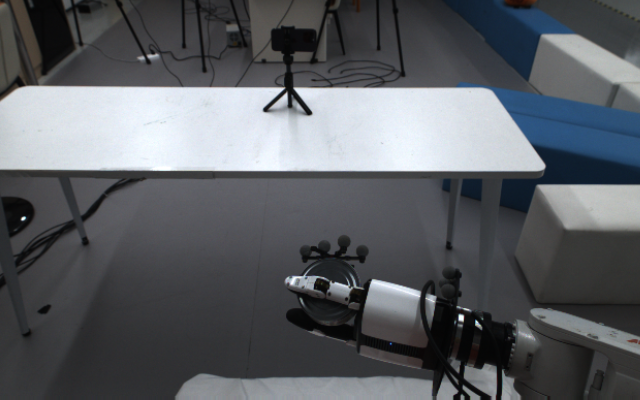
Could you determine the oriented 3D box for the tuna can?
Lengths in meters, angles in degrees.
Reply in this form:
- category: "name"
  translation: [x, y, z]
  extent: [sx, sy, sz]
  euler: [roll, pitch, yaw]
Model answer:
- category: "tuna can"
  translation: [0.015, 0.122, 0.644]
  extent: [0.085, 0.034, 0.085]
  euler: [-6, 61, 10]
